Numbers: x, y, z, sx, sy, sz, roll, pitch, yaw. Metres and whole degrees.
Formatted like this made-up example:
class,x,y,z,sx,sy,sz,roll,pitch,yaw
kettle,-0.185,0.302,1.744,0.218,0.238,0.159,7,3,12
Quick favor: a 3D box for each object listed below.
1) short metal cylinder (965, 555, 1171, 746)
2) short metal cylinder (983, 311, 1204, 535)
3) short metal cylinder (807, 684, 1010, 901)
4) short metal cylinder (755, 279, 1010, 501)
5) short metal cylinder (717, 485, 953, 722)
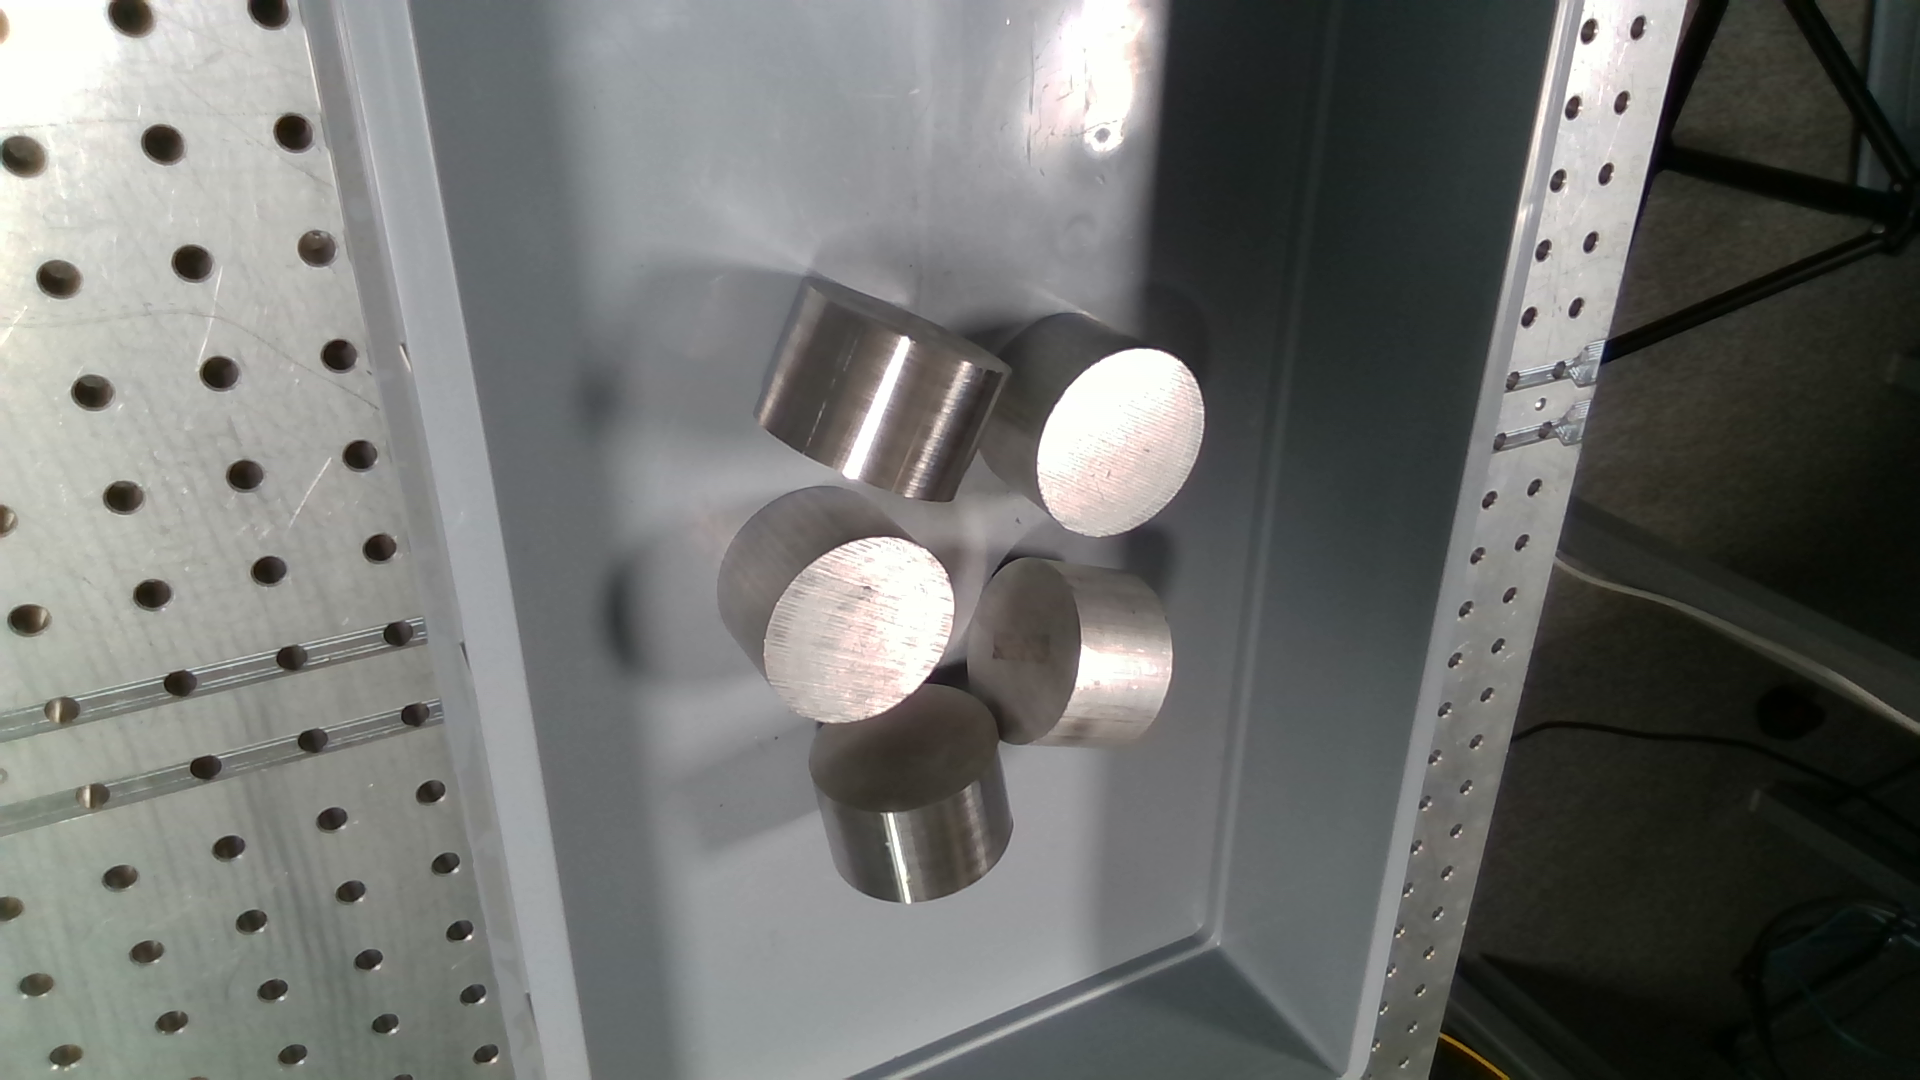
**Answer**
class,x,y,z,sx,sy,sz,roll,pitch,yaw
short metal cylinder,0.046,0.049,0.600,0.050,0.080,0.080,8,110,-34
short metal cylinder,0.053,-0.049,0.569,0.080,0.050,0.080,-14,122,-25
short metal cylinder,-0.021,0.106,0.588,0.080,0.080,0.050,-23,125,-20
short metal cylinder,-0.028,-0.054,0.496,0.080,0.080,0.050,14,107,-36
short metal cylinder,-0.050,0.025,0.546,0.080,0.050,0.080,-14,122,-25
